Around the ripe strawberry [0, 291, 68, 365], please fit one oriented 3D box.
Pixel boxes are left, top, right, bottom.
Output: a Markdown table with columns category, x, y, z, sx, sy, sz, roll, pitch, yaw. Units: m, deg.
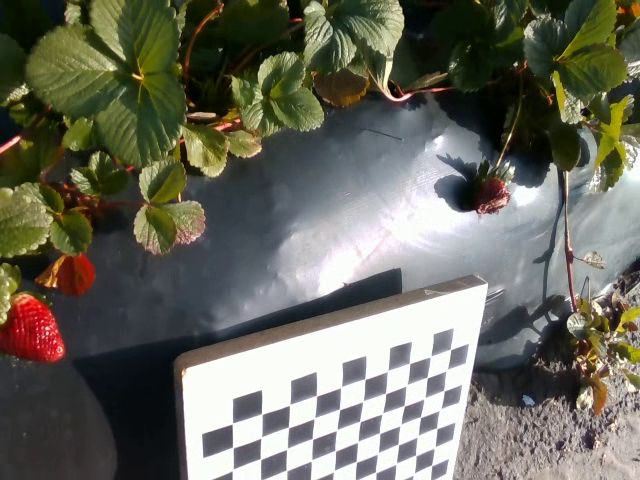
| category | x | y | z | sx | sy | sz | roll | pitch | yaw |
| --- | --- | --- | --- | --- | --- | --- | --- | --- | --- |
| ripe strawberry | -0.178 | 0.060 | 0.383 | 0.056 | 0.041 | 0.040 | 38 | 5 | 5 |
